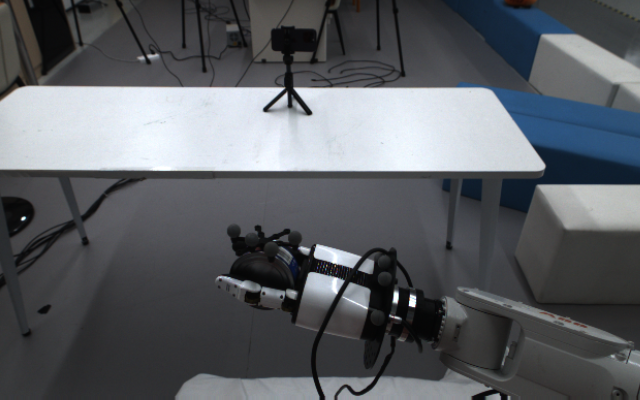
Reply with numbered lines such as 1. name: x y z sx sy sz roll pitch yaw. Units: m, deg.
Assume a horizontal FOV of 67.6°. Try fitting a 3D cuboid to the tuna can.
1. tuna can: -0.069 0.097 0.624 0.085 0.085 0.034 9 23 10
